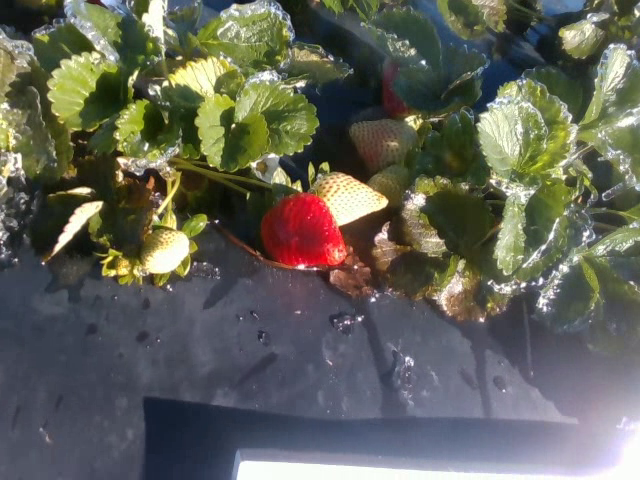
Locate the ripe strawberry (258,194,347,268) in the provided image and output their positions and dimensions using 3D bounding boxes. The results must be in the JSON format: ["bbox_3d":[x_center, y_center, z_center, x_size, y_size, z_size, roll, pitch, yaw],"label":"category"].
[{"bbox_3d":[-0.004,-0.001,0.267,0.040,0.042,0.053,-30,32,-16],"label":"ripe strawberry"}]
